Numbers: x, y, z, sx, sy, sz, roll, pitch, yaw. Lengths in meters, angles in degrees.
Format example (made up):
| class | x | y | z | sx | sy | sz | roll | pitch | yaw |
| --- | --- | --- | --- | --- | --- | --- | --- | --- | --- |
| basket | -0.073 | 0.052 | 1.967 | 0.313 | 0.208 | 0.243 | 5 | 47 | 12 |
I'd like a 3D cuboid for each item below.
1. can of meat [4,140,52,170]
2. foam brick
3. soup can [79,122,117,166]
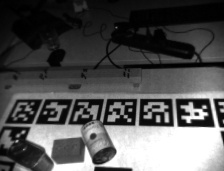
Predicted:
| class | x | y | z | sx | sy | sz | roll | pitch | yaw |
| --- | --- | --- | --- | --- | --- | --- | --- | --- | --- |
| can of meat | -0.224 | 0.199 | 0.582 | 0.101 | 0.084 | 0.058 | 11 | 56 | 20 |
| foam brick | -0.124 | 0.184 | 0.598 | 0.078 | 0.052 | 0.052 | -9 | 51 | 5 |
| soup can | -0.041 | 0.160 | 0.598 | 0.068 | 0.068 | 0.100 | -30 | 47 | -12 |
